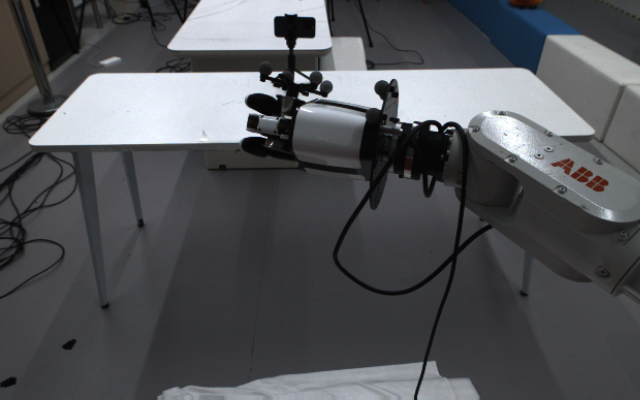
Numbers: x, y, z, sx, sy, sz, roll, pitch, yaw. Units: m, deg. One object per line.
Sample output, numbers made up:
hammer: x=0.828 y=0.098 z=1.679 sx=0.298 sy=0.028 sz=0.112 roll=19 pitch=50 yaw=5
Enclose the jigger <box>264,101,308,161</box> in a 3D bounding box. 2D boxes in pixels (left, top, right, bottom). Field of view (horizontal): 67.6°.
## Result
jigger: x=-0.042 y=-0.096 z=0.623 sx=0.043 sy=0.071 sz=0.043 roll=14 pitch=1 yaw=0
